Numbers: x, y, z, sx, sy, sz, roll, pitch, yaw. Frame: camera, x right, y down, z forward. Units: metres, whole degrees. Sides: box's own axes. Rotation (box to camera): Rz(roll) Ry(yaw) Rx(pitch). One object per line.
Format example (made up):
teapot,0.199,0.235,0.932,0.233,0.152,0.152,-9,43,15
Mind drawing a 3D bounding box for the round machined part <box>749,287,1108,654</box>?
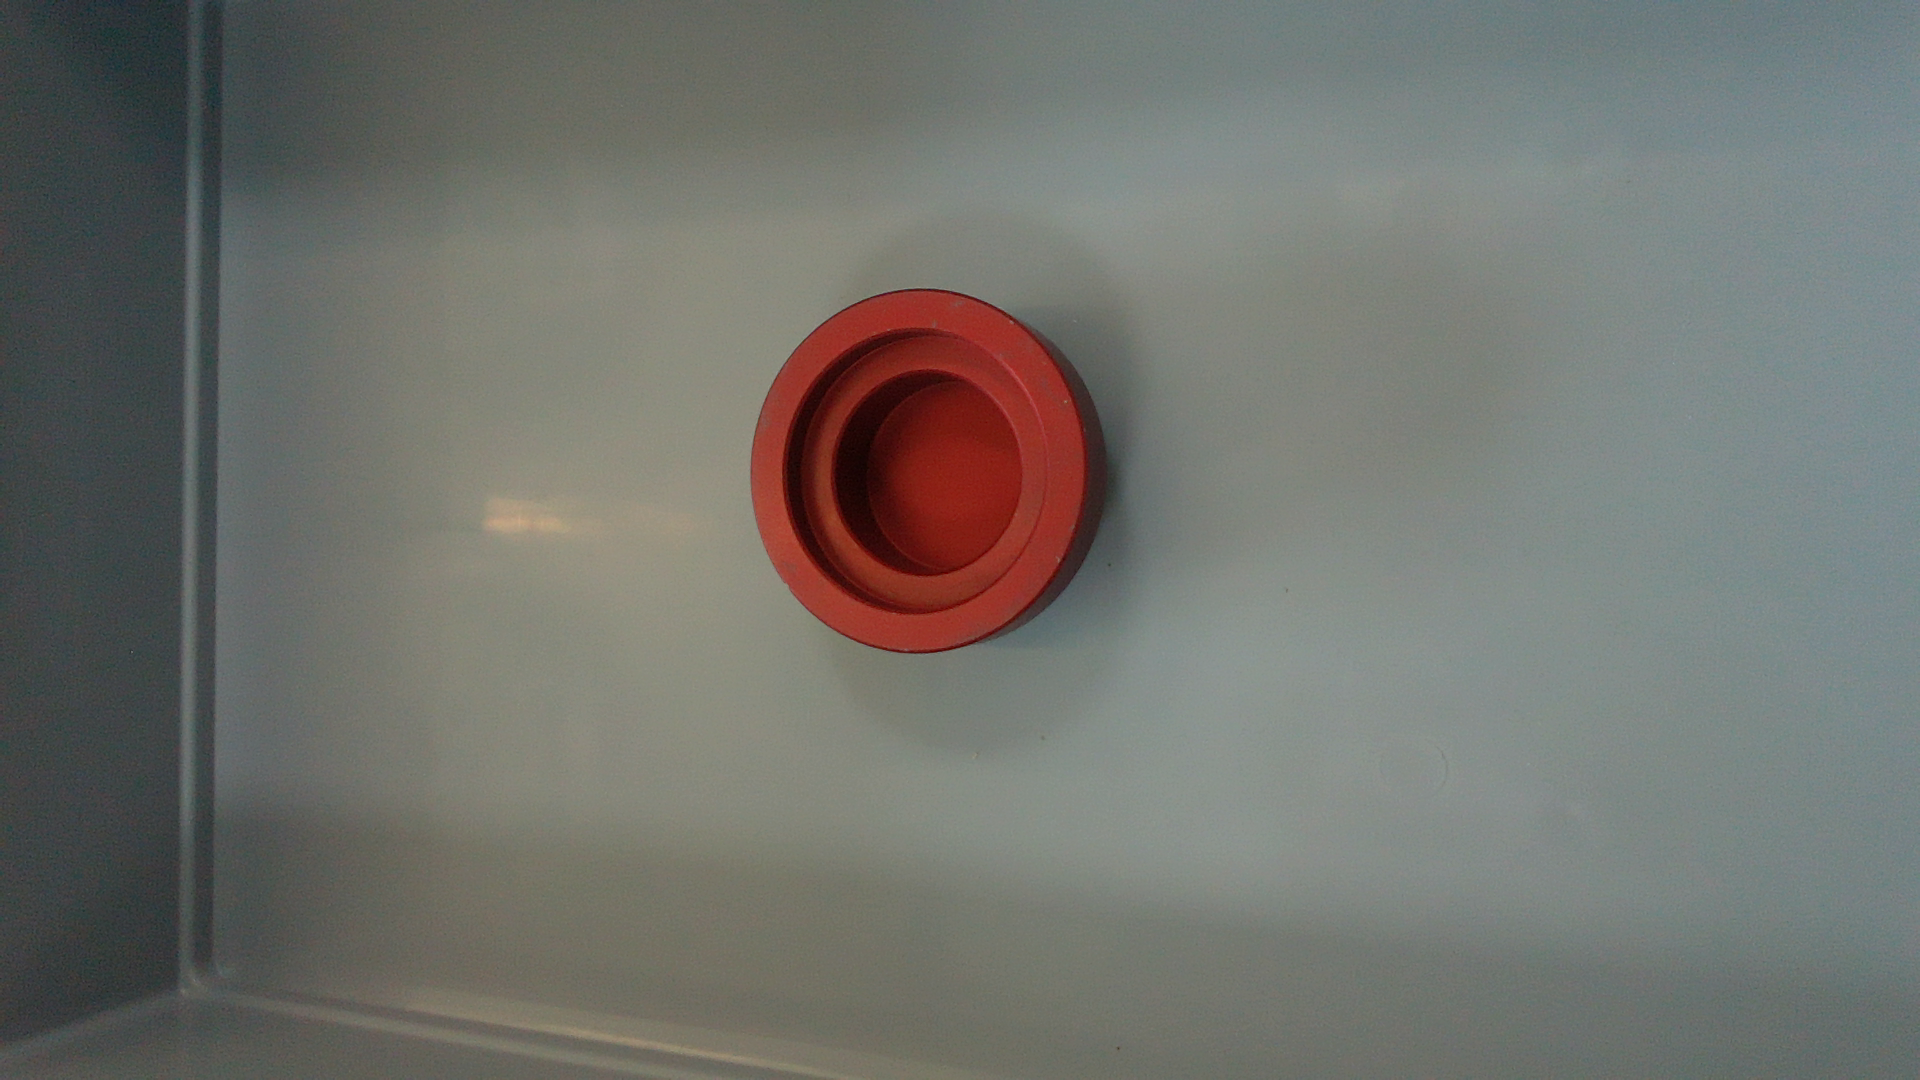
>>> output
round machined part,-0.006,-0.019,0.386,0.098,0.042,0.098,0,90,20
